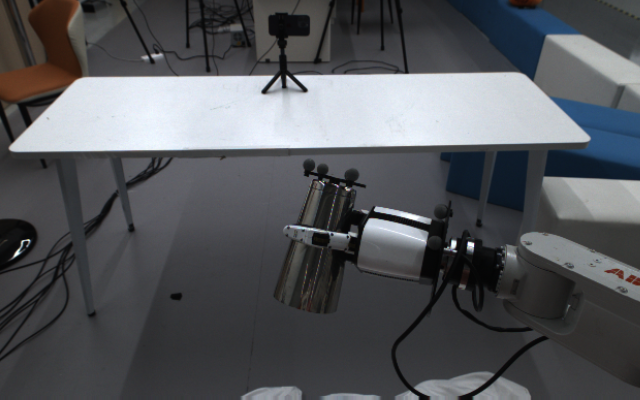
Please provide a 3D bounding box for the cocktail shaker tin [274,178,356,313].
[{"bbox_3d":[-0.001,0.061,0.677,0.093,0.170,0.093,14,2,0],"label":"cocktail shaker tin"}]
